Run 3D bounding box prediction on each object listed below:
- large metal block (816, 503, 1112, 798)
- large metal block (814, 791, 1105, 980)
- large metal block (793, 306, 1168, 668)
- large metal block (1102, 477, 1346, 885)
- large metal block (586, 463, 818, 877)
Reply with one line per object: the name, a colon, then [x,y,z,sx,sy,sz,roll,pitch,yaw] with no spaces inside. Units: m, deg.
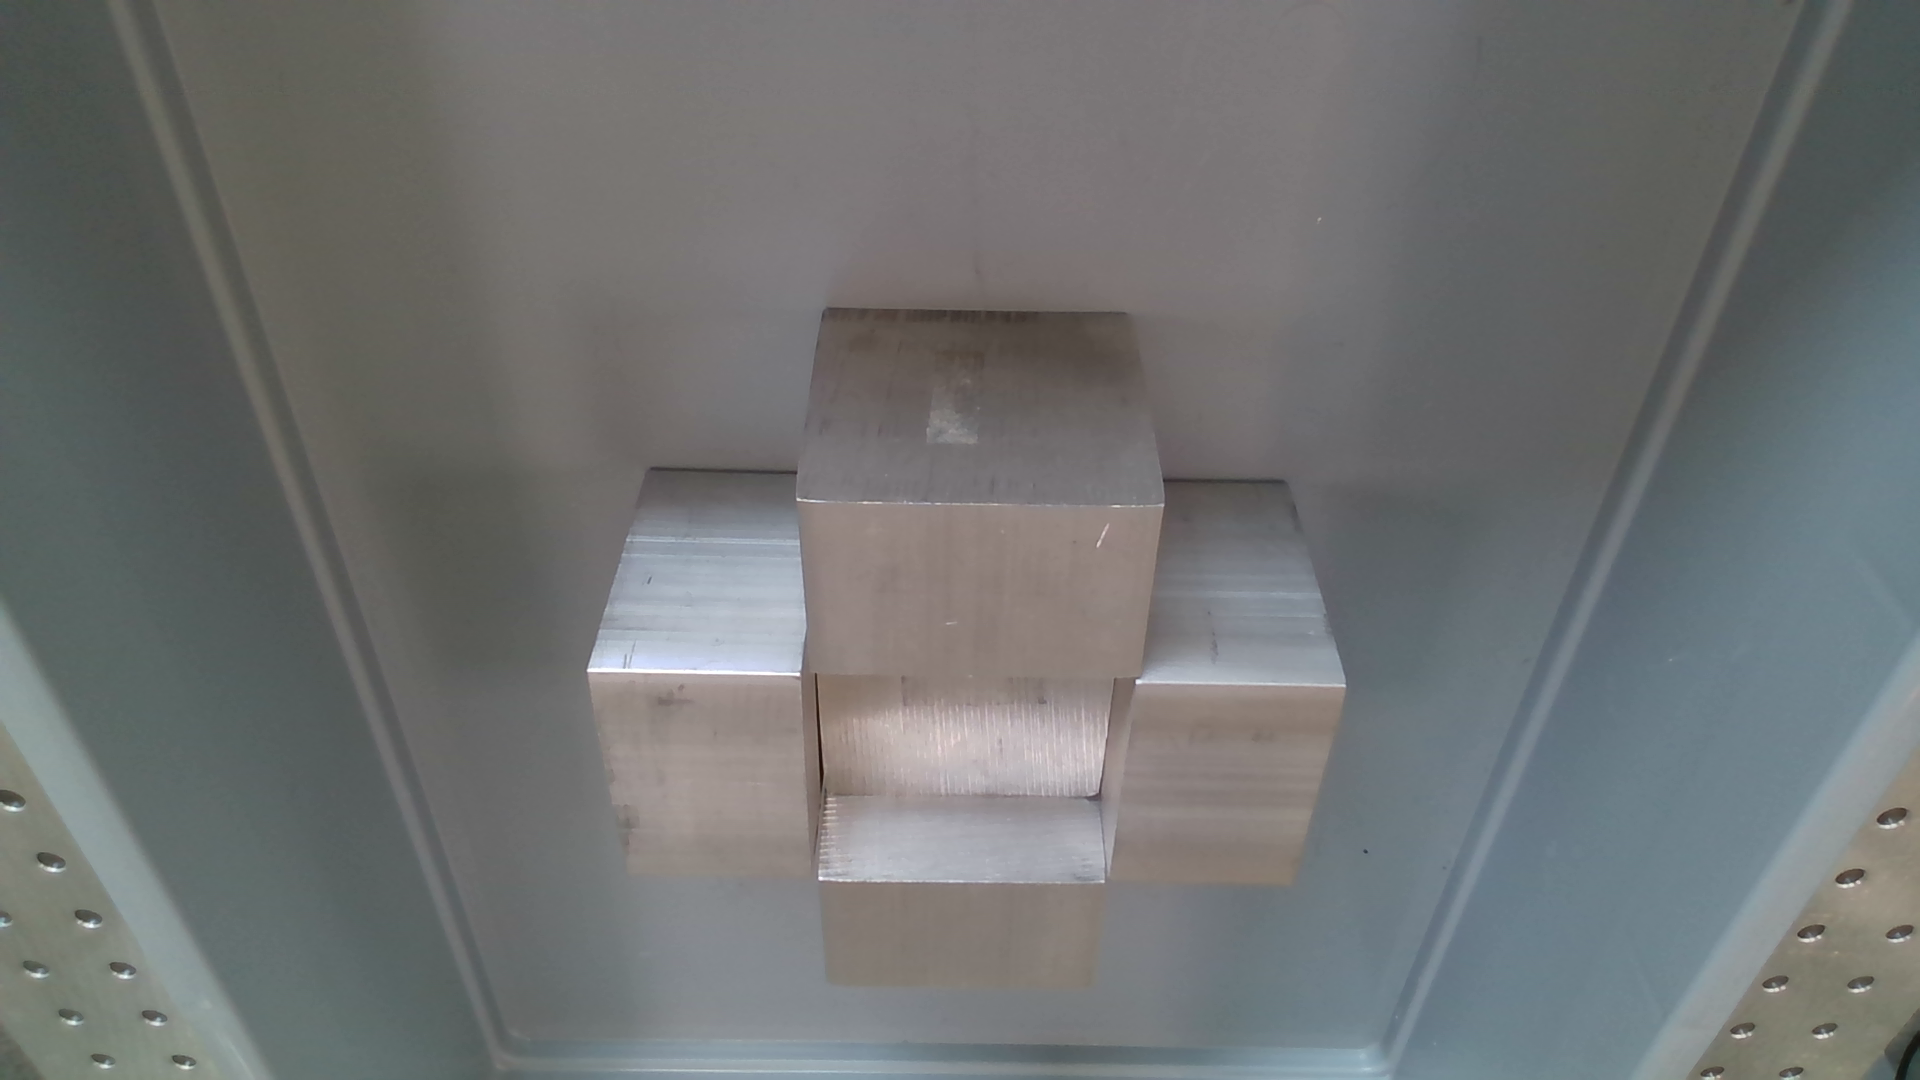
large metal block: [0.001,0.028,0.394,0.080,0.050,0.080,1,130,0]
large metal block: [0.000,0.086,0.425,0.080,0.080,0.050,1,130,0]
large metal block: [0.004,-0.015,0.340,0.080,0.080,0.050,1,130,0]
large metal block: [0.067,0.038,0.384,0.050,0.080,0.080,1,130,0]
large metal block: [-0.065,0.035,0.381,0.050,0.080,0.080,1,130,-1]
